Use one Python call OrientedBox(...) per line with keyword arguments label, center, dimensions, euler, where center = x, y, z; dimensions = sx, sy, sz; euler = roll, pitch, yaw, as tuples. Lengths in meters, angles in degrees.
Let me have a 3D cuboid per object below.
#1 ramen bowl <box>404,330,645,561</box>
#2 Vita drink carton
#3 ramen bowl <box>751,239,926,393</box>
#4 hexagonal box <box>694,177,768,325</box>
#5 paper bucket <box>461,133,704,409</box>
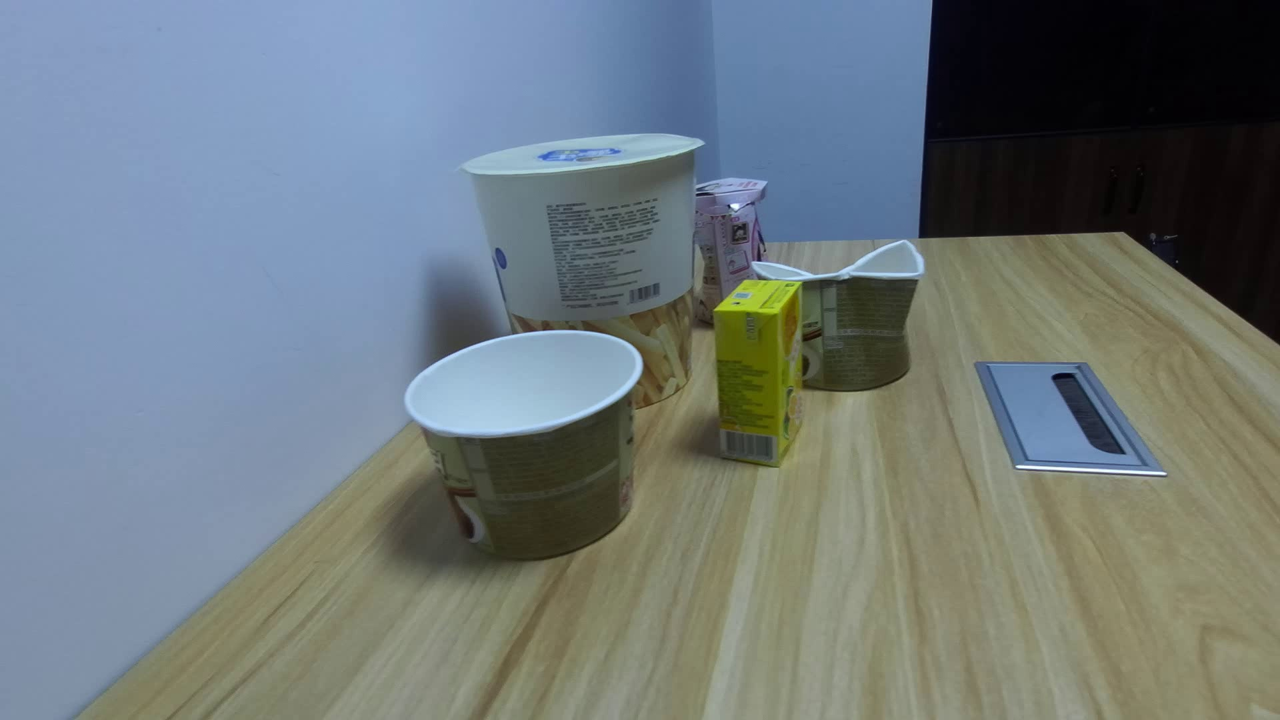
OrientedBox(label="ramen bowl", center=(-0.063, 0.050, 0.435), dimensions=(0.140, 0.095, 0.140), euler=(-4, 24, 2))
OrientedBox(label="Vita drink carton", center=(0.081, 0.007, 0.475), dimensions=(0.043, 0.109, 0.067), euler=(6, 26, 25))
OrientedBox(label="ramen bowl", center=(0.160, -0.040, 0.584), dimensions=(0.128, 0.093, 0.111), euler=(-1, 24, 10))
OrientedBox(label="hexagonal box", center=(0.088, -0.106, 0.707), dimensions=(0.091, 0.134, 0.089), euler=(-20, 23, -28))
OrientedBox(label="paper bucket", center=(-0.034, -0.073, 0.585), dimensions=(0.198, 0.195, 0.198), euler=(-5, 22, 2))
